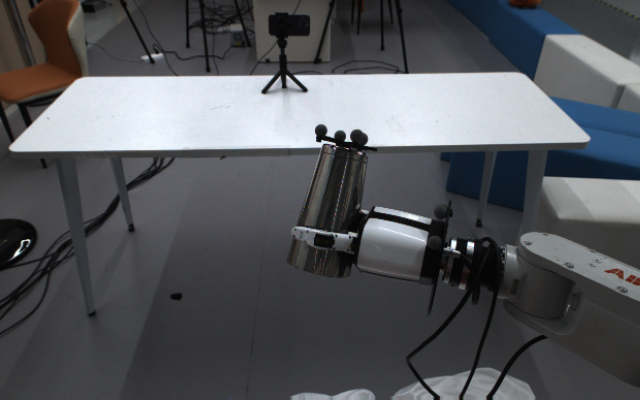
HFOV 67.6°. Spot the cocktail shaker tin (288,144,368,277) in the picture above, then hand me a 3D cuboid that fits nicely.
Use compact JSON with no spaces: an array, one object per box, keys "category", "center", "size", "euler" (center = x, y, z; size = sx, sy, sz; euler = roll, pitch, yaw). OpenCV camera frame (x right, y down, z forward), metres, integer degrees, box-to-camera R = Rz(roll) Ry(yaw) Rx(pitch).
[{"category":"cocktail shaker tin","center":[0.017,0.012,0.676],"size":[0.093,0.170,0.093],"euler":[13,4,-1]}]
